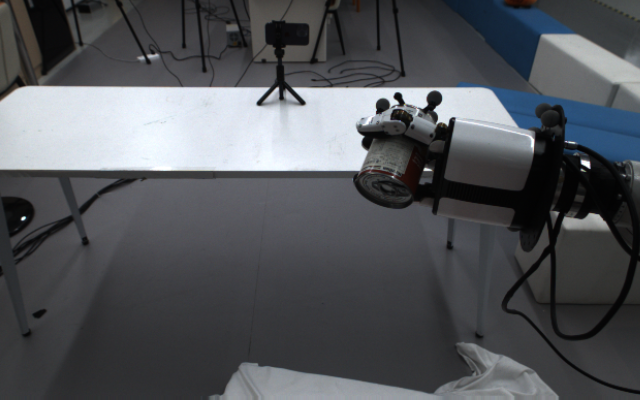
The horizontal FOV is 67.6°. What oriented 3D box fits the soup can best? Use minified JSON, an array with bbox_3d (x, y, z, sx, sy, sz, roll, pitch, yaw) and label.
[{"bbox_3d":[0.089,-0.053,0.556,0.067,0.067,0.101,15,63,18],"label":"soup can"}]
